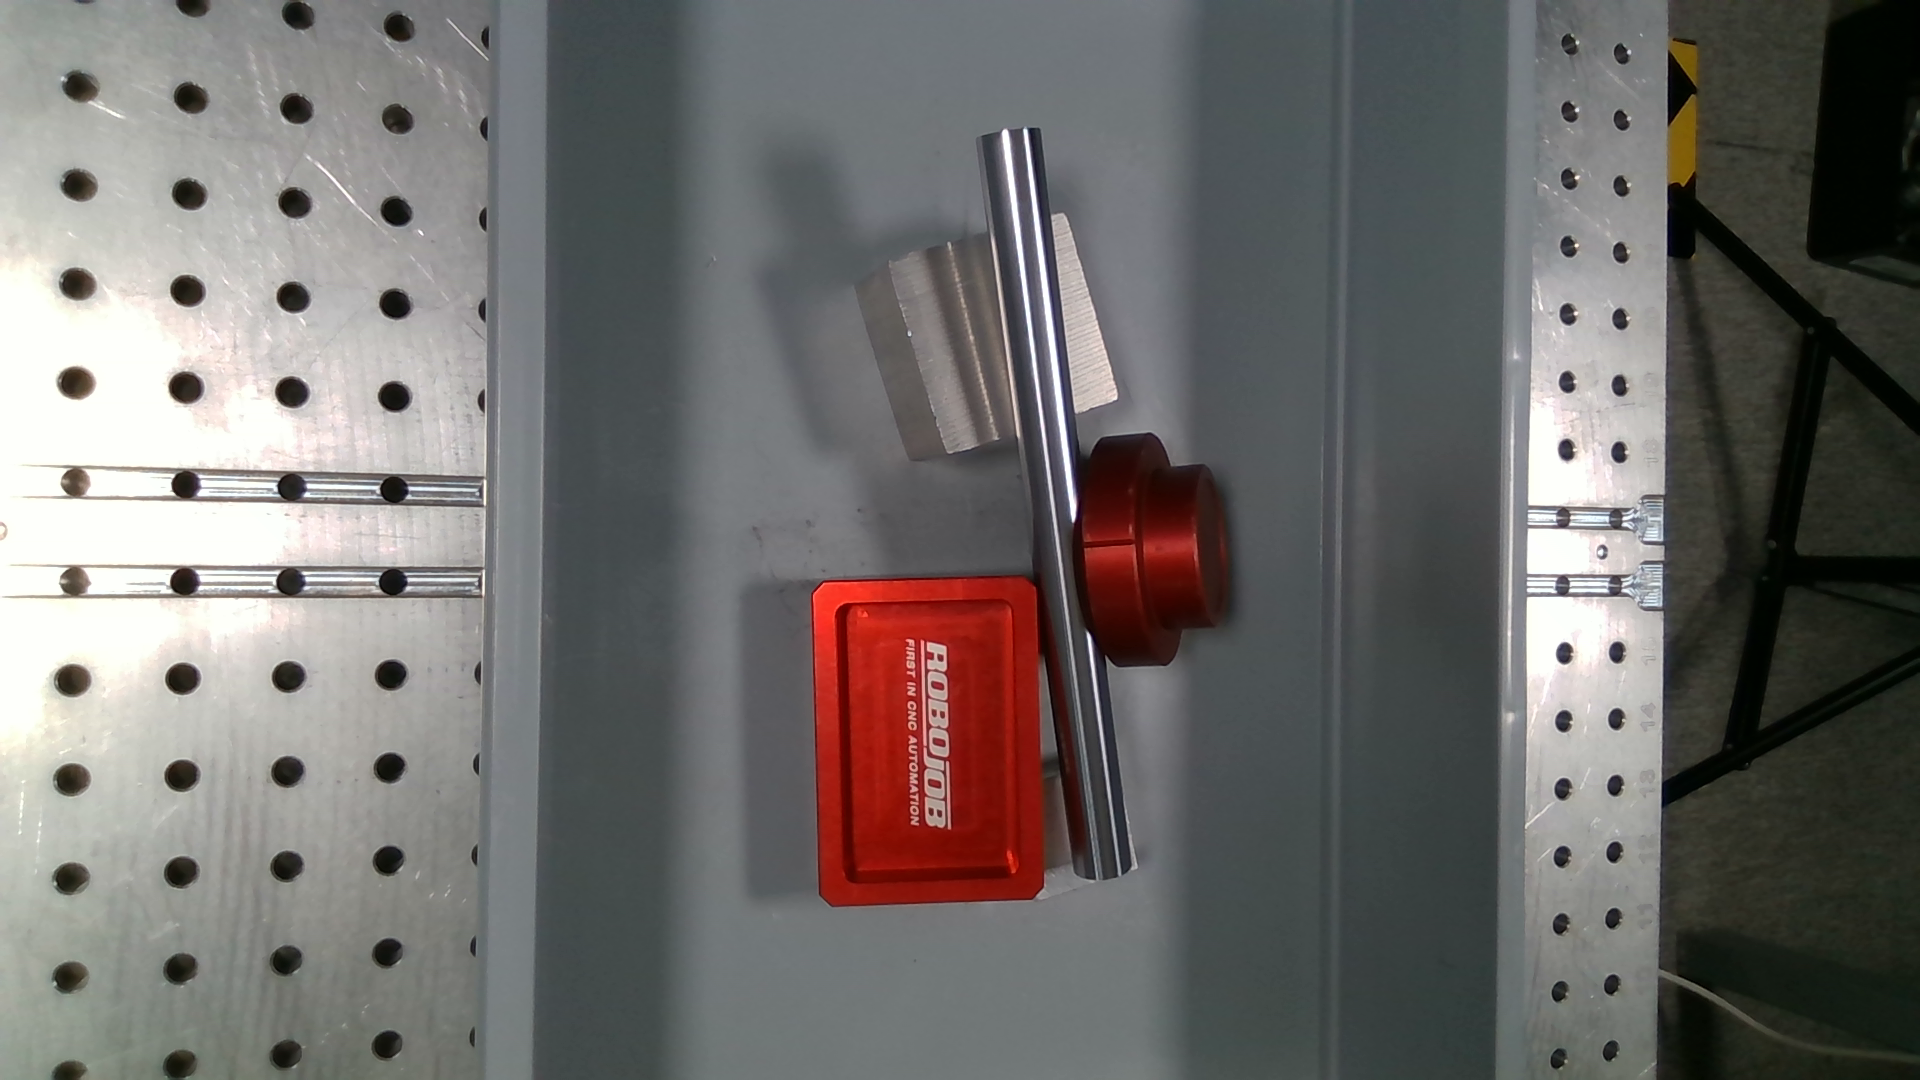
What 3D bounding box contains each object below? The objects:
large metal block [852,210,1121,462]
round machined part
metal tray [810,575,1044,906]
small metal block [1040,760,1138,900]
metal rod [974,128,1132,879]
[{"bbox_3d":[0.011,-0.084,0.574,0.080,0.050,0.080,-19,97,-19],"label":"large metal block"},{"bbox_3d":[0.084,0.003,0.575,0.042,0.098,0.098,-4,92,20],"label":"round machined part"},{"bbox_3d":[-0.013,0.080,0.563,0.090,0.030,0.130,-1,91,-1],"label":"metal tray"},{"bbox_3d":[0.046,0.124,0.602,0.050,0.025,0.050,-12,94,-20],"label":"small metal block"},{"bbox_3d":[0.039,-0.008,0.551,0.025,0.025,0.300,-12,102,-20],"label":"metal rod"}]
